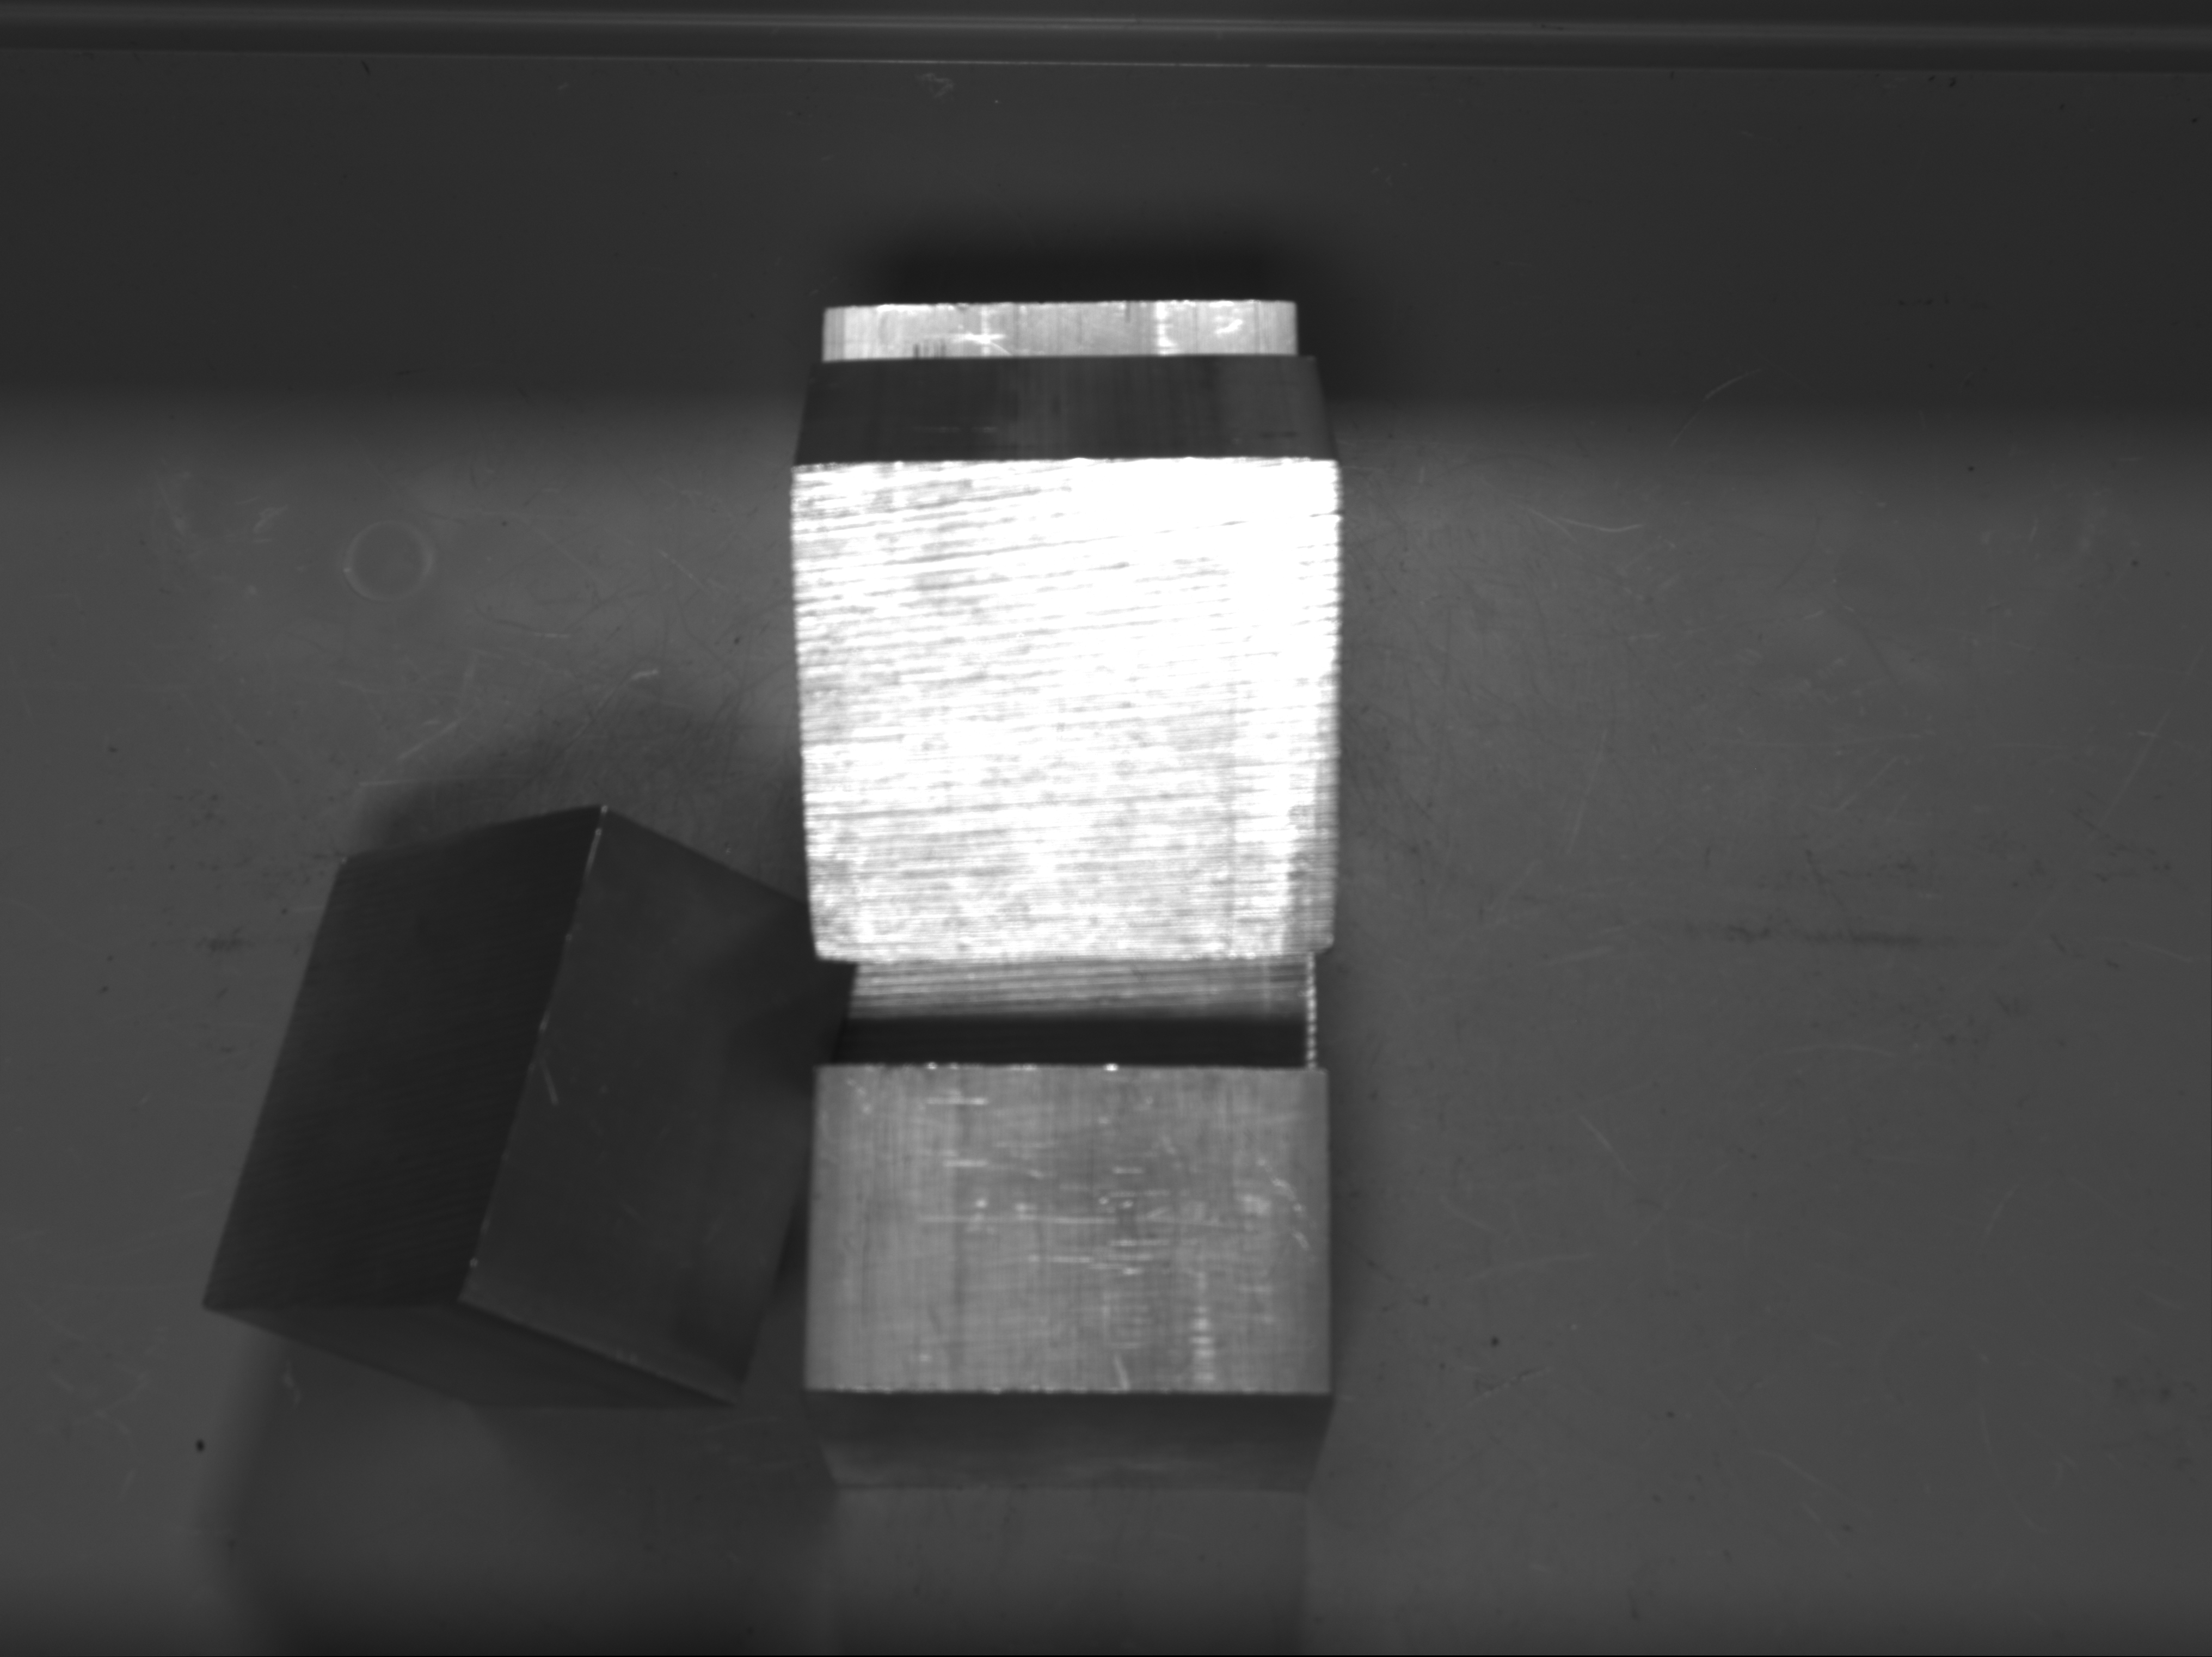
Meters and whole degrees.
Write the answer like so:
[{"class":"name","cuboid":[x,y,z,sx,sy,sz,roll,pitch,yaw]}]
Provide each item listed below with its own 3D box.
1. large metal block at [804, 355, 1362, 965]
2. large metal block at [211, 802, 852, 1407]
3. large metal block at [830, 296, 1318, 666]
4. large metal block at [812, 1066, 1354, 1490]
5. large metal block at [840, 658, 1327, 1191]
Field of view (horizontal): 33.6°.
[{"class":"large metal block","cuboid":[-0.003,-0.026,0.564,0.080,0.080,0.050,-1,25,0]},{"class":"large metal block","cuboid":[-0.091,0.047,0.588,0.050,0.080,0.080,28,66,-36]},{"class":"large metal block","cuboid":[-0.005,-0.050,0.632,0.080,0.080,0.050,-1,70,0]},{"class":"large metal block","cuboid":[-0.003,0.074,0.586,0.080,0.080,0.050,0,70,0]},{"class":"large metal block","cuboid":[-0.005,0.018,0.626,0.080,0.050,0.080,-1,70,0]}]
